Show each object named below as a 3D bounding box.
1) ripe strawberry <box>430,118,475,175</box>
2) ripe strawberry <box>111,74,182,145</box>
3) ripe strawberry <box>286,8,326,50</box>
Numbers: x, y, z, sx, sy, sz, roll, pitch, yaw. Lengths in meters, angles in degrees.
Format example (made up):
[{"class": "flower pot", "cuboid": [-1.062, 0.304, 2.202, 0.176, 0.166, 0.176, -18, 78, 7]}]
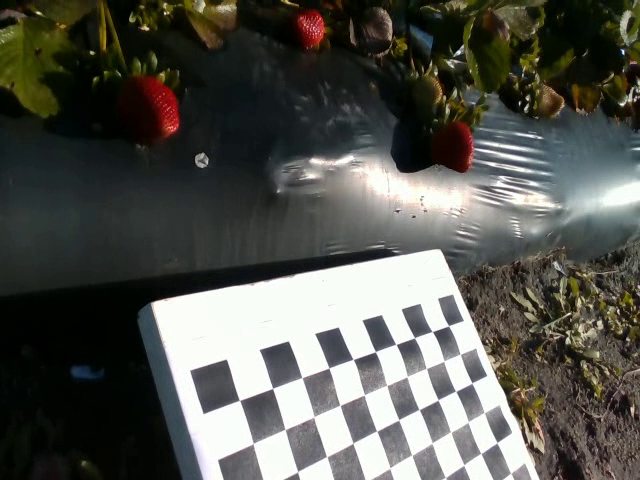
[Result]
[{"class": "ripe strawberry", "cuboid": [0.116, -0.076, 0.519, 0.042, 0.059, 0.042, 22, -48, -38]}, {"class": "ripe strawberry", "cuboid": [-0.101, -0.076, 0.365, 0.045, 0.042, 0.055, 6, 32, -46]}, {"class": "ripe strawberry", "cuboid": [-0.013, -0.178, 0.498, 0.035, 0.035, 0.046, -29, -15, 33]}]
